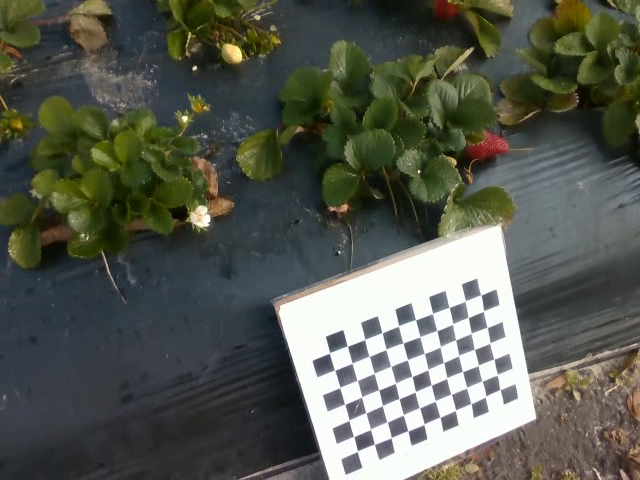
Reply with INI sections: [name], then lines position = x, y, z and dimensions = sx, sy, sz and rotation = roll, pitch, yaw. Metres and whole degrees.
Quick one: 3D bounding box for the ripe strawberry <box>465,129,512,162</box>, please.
[ripe strawberry]
position = 0.207, -0.117, 0.795
dimensions = 0.064, 0.051, 0.043
rotation = 14, 4, -19
